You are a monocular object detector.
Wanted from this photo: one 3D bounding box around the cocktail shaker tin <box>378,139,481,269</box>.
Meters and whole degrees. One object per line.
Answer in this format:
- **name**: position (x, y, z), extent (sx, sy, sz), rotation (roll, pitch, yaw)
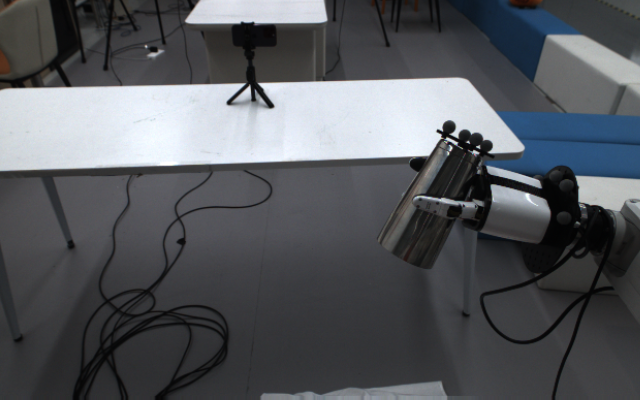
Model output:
- **cocktail shaker tin**: position (0.163, -0.001, 0.695), extent (0.093, 0.170, 0.093), rotation (24, 13, -6)
